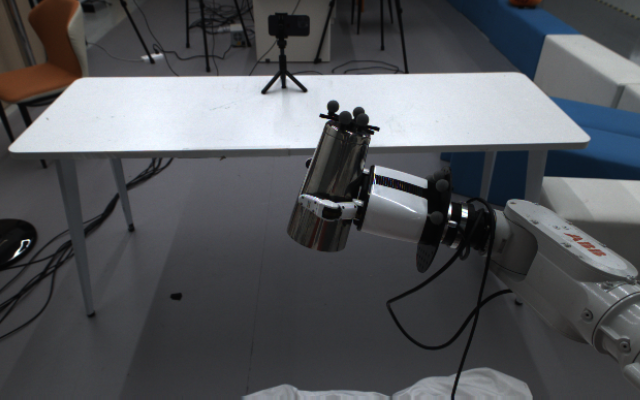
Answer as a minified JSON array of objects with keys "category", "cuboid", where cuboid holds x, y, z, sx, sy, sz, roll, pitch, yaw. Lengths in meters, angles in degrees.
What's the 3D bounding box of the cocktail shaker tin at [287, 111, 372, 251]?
[{"category":"cocktail shaker tin","cuboid":[0.017,-0.023,0.695,0.093,0.170,0.093,15,20,-5]}]
